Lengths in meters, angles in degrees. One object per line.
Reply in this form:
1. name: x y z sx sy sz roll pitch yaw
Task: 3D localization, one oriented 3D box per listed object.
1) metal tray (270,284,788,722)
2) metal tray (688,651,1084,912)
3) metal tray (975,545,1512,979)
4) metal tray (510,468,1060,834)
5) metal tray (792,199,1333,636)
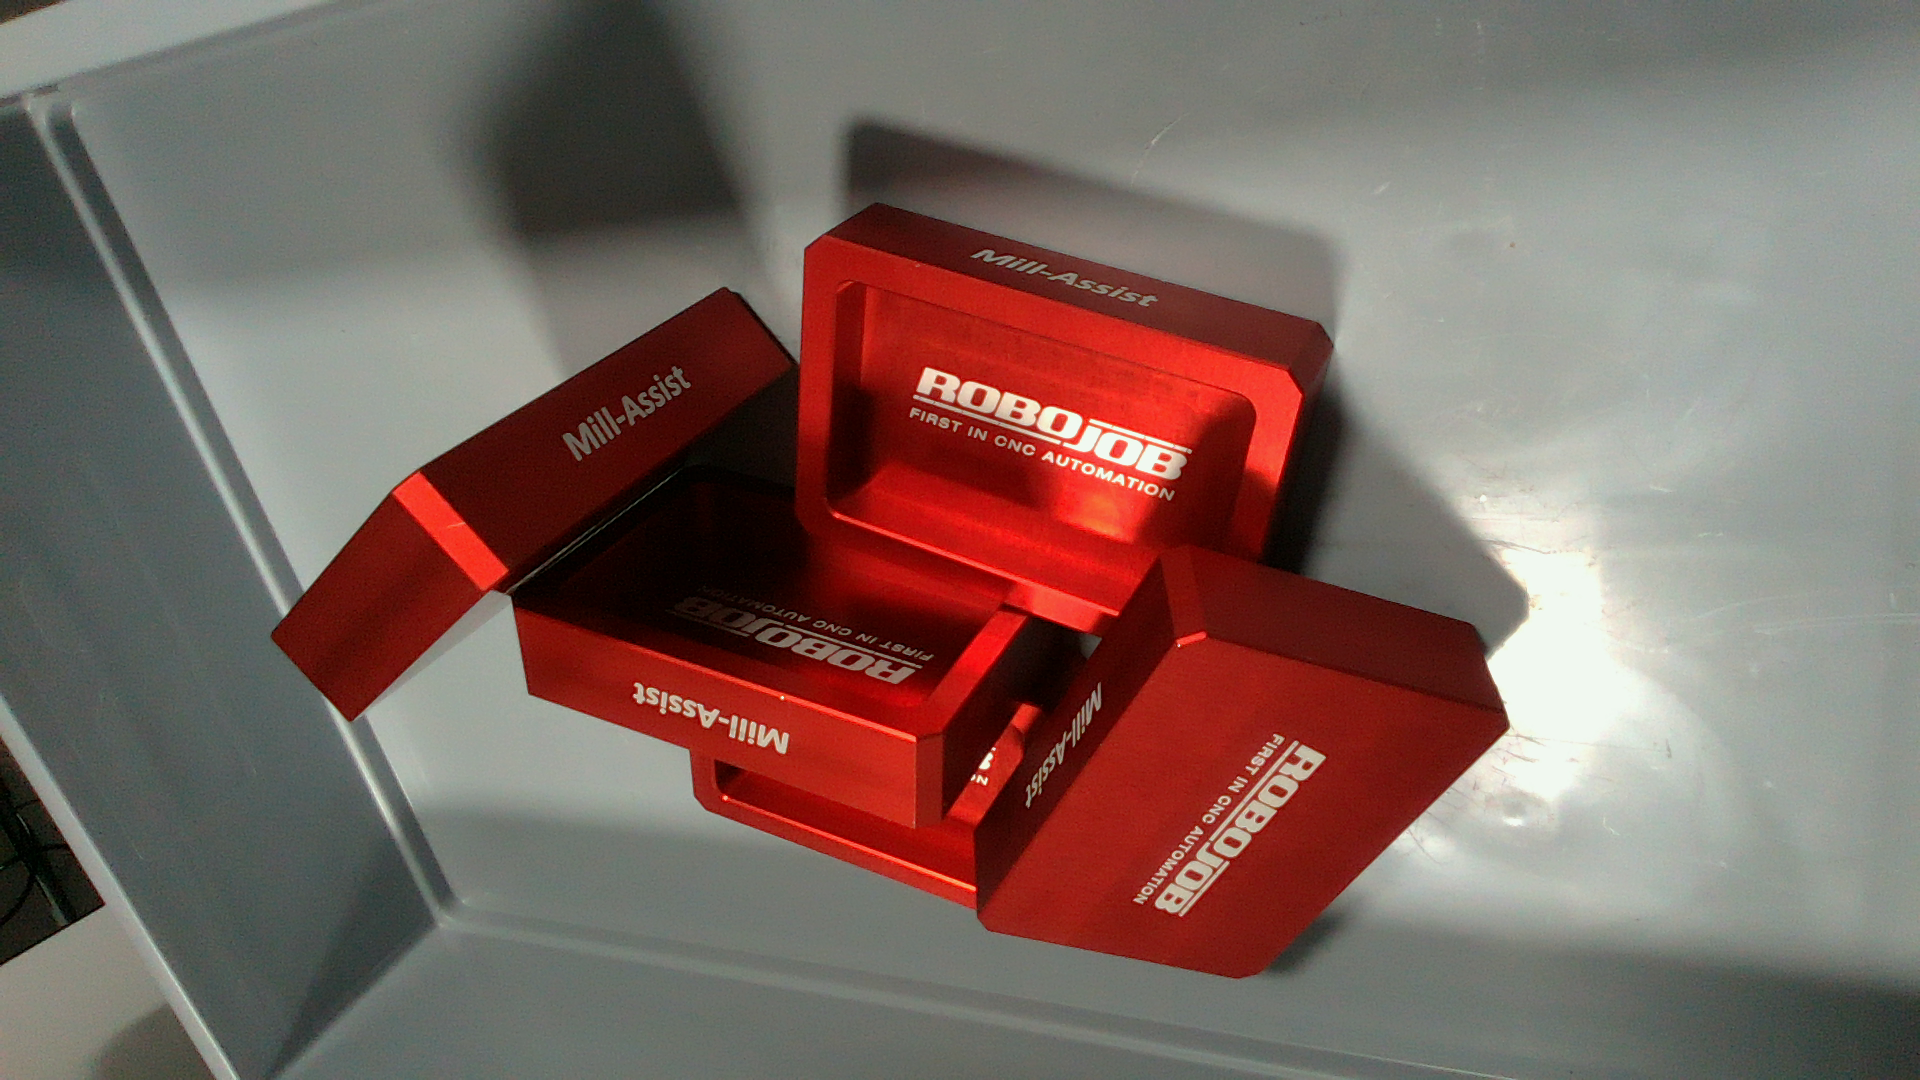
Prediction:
1. metal tray: -0.112 -0.013 0.374 0.090 0.130 0.030 -34 99 39
2. metal tray: -0.027 0.064 0.440 0.130 0.030 0.090 15 125 20
3. metal tray: 0.069 0.066 0.366 0.090 0.030 0.130 15 131 -16
4. metal tray: -0.046 0.025 0.388 0.130 0.090 0.030 15 125 20
5. metal tray: 0.021 -0.027 0.360 0.130 0.030 0.090 19 126 17
